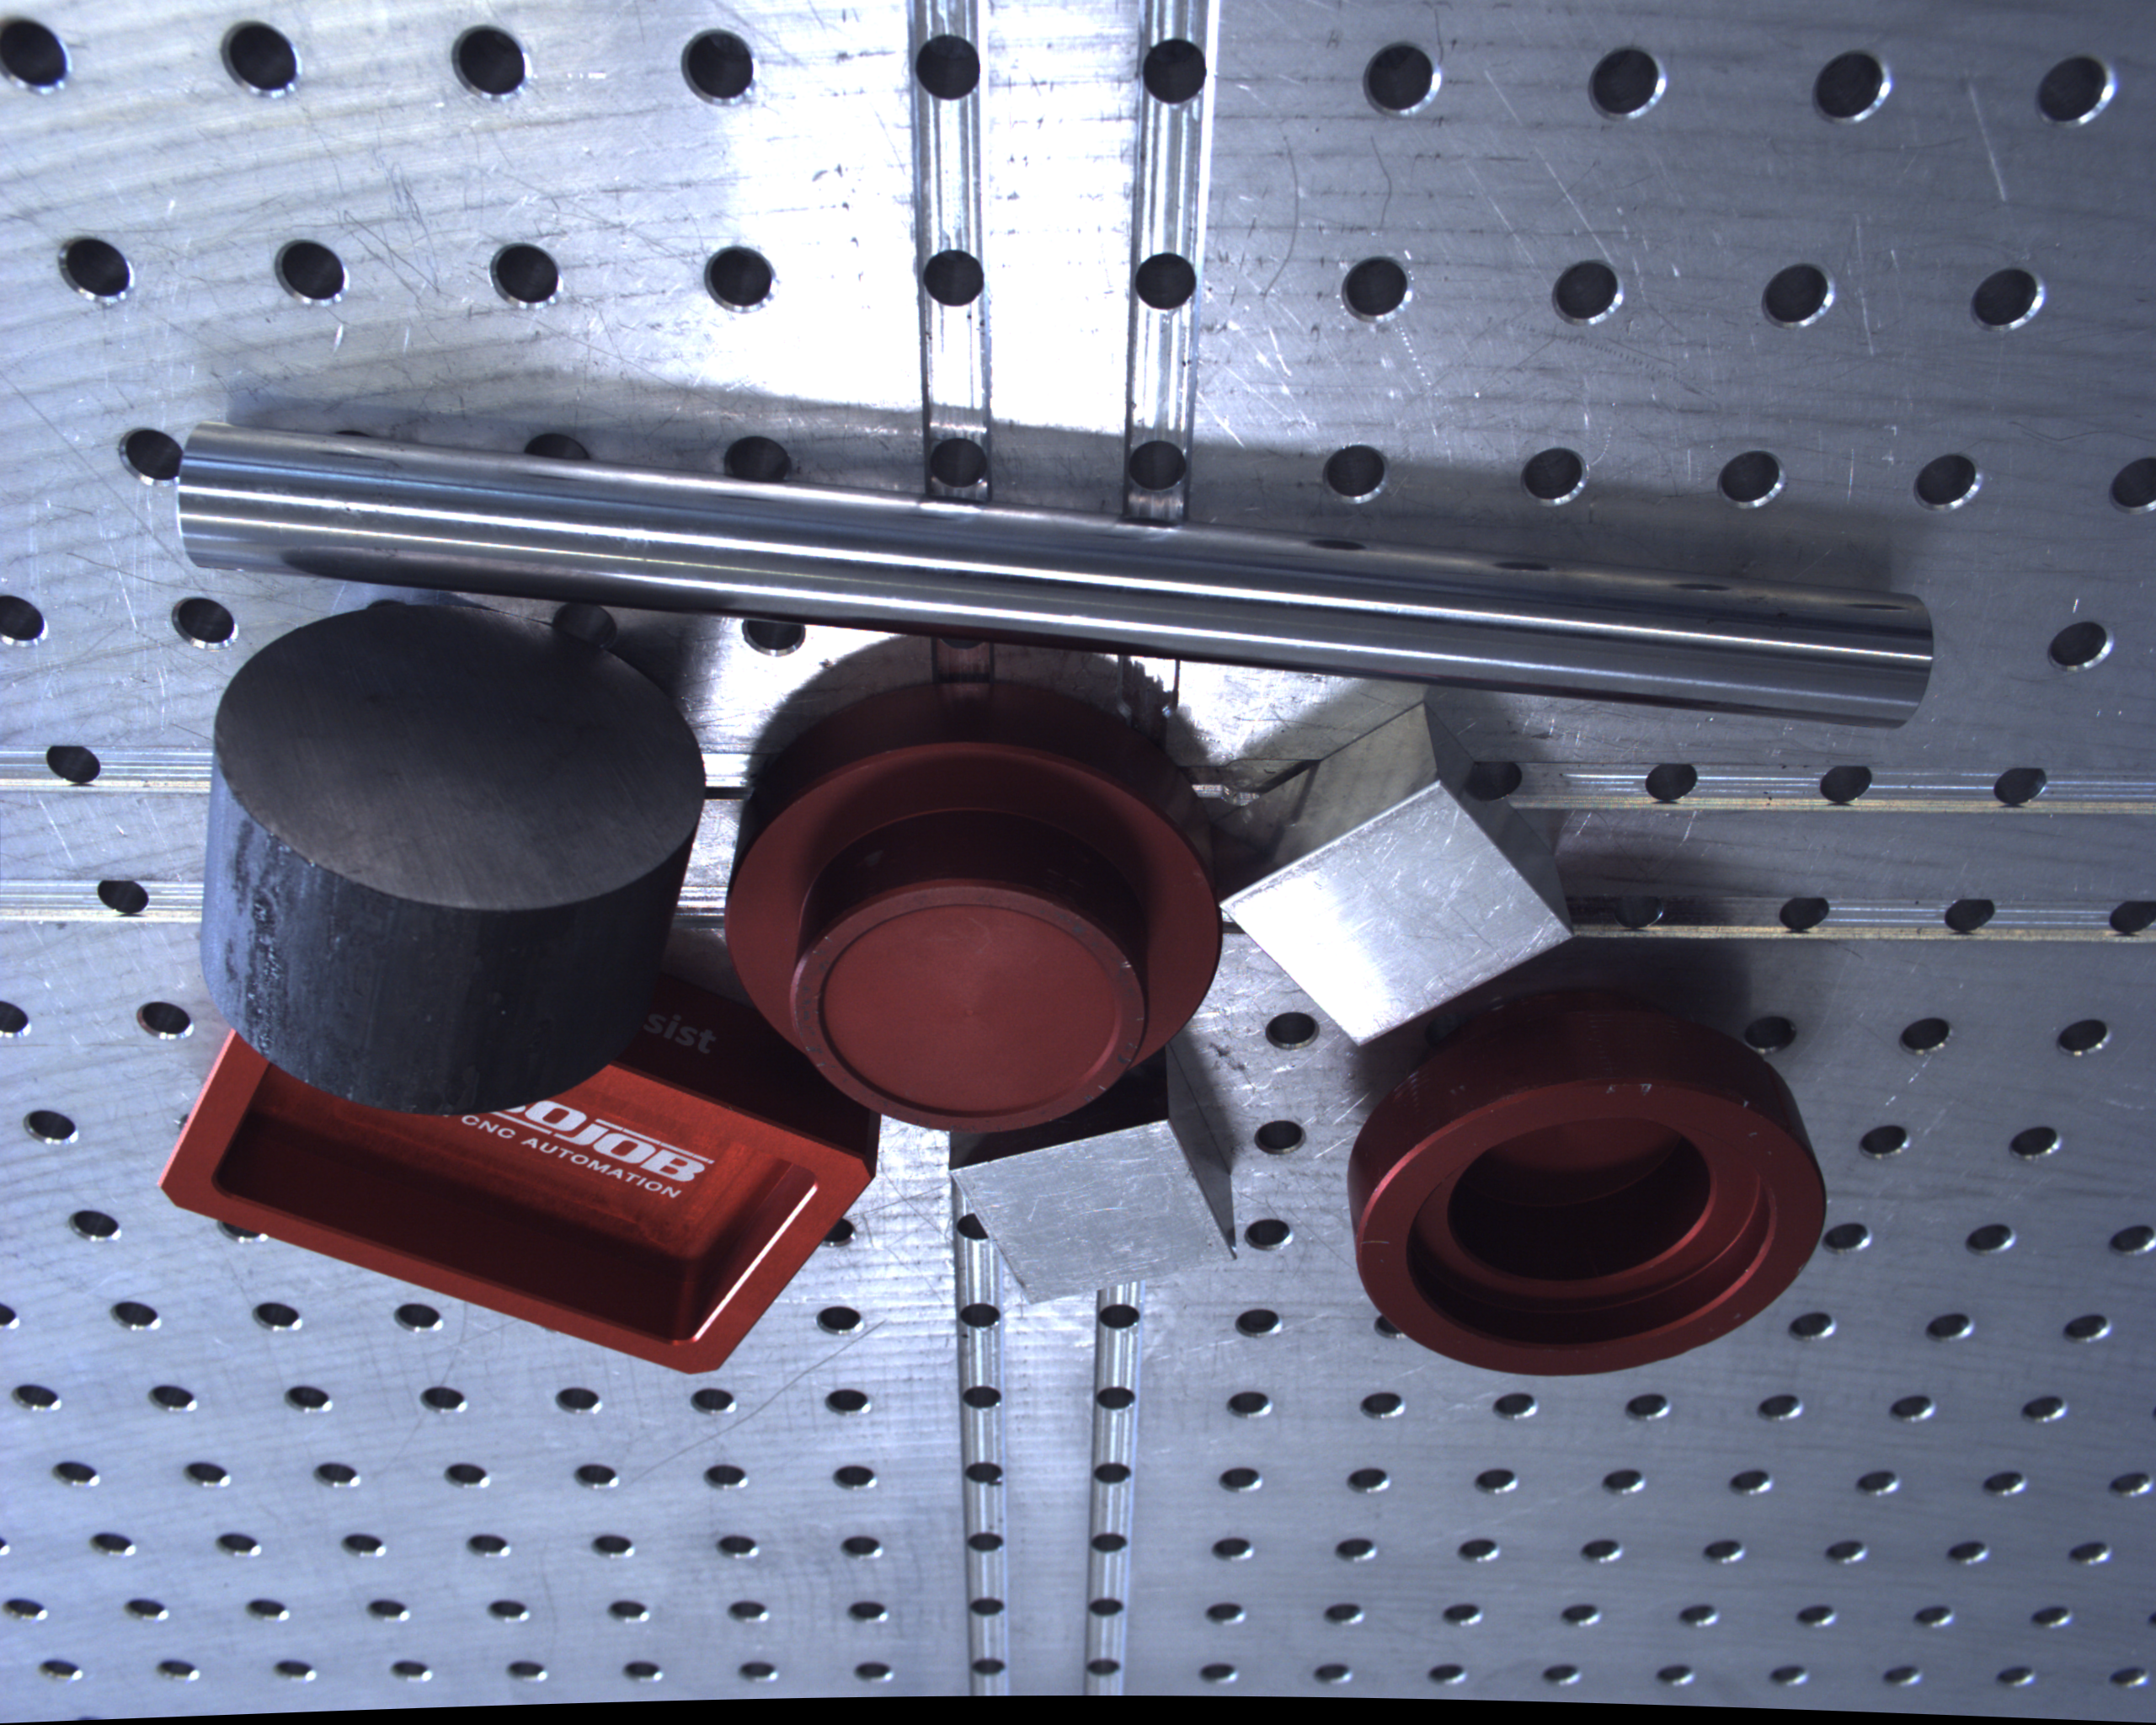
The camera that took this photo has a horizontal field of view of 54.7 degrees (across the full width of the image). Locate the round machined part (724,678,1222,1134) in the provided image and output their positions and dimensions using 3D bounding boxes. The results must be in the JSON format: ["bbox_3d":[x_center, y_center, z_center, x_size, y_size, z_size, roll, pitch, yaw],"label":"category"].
[{"bbox_3d":[-0.021,0.015,0.413,0.099,0.042,0.097,0,128,0],"label":"round machined part"}]

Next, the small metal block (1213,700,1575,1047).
[{"bbox_3d":[0.062,0.003,0.415,0.050,0.025,0.050,-31,124,23],"label":"small metal block"}]

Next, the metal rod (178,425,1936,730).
[{"bbox_3d":[0.001,-0.049,0.369,0.302,0.025,0.025,5,130,-5],"label":"metal rod"}]

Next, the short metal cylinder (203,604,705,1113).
[{"bbox_3d":[-0.112,-0.002,0.372,0.081,0.080,0.050,14,129,-12],"label":"short metal cylinder"}]

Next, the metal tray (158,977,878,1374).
[{"bbox_3d":[-0.120,0.059,0.457,0.131,0.030,0.089,24,126,-19],"label":"metal tray"}]

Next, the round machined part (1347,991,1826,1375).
[{"bbox_3d":[0.108,0.066,0.458,0.099,0.042,0.097,0,130,0],"label":"round machined part"}]

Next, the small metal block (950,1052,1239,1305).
[{"bbox_3d":[0.004,0.070,0.471,0.050,0.025,0.050,-15,129,12],"label":"small metal block"}]
